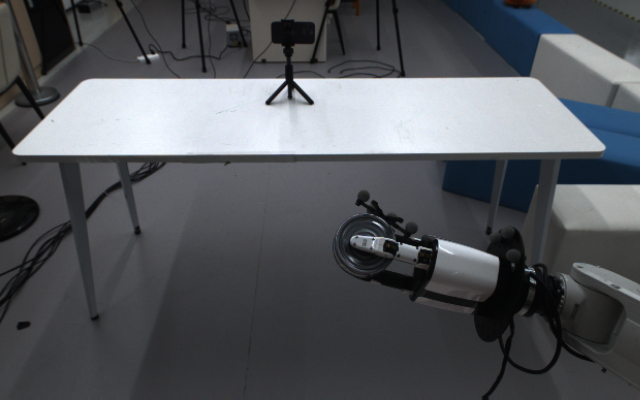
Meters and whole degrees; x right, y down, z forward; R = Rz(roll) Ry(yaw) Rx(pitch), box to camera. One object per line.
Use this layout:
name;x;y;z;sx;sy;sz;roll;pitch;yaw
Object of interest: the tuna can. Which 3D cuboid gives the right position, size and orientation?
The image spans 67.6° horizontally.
tuna can;0.065;0.069;0.660;0.085;0.034;0.085;0;74;0
